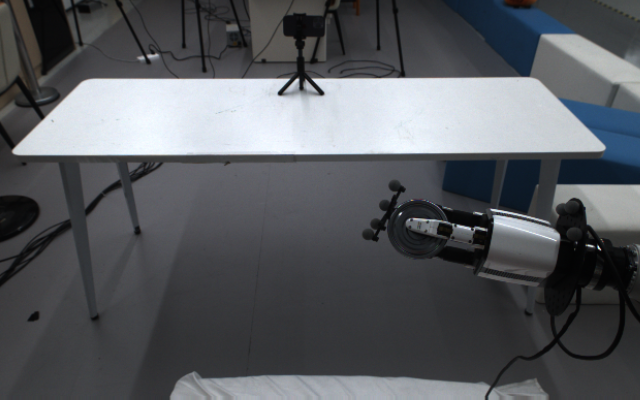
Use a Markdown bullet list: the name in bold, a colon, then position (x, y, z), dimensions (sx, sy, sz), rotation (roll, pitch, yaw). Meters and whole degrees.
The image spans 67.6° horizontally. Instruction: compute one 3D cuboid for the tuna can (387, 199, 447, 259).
- **tuna can**: position (0.141, 0.039, 0.683), dimensions (0.085, 0.085, 0.034), rotation (9, -5, 10)
